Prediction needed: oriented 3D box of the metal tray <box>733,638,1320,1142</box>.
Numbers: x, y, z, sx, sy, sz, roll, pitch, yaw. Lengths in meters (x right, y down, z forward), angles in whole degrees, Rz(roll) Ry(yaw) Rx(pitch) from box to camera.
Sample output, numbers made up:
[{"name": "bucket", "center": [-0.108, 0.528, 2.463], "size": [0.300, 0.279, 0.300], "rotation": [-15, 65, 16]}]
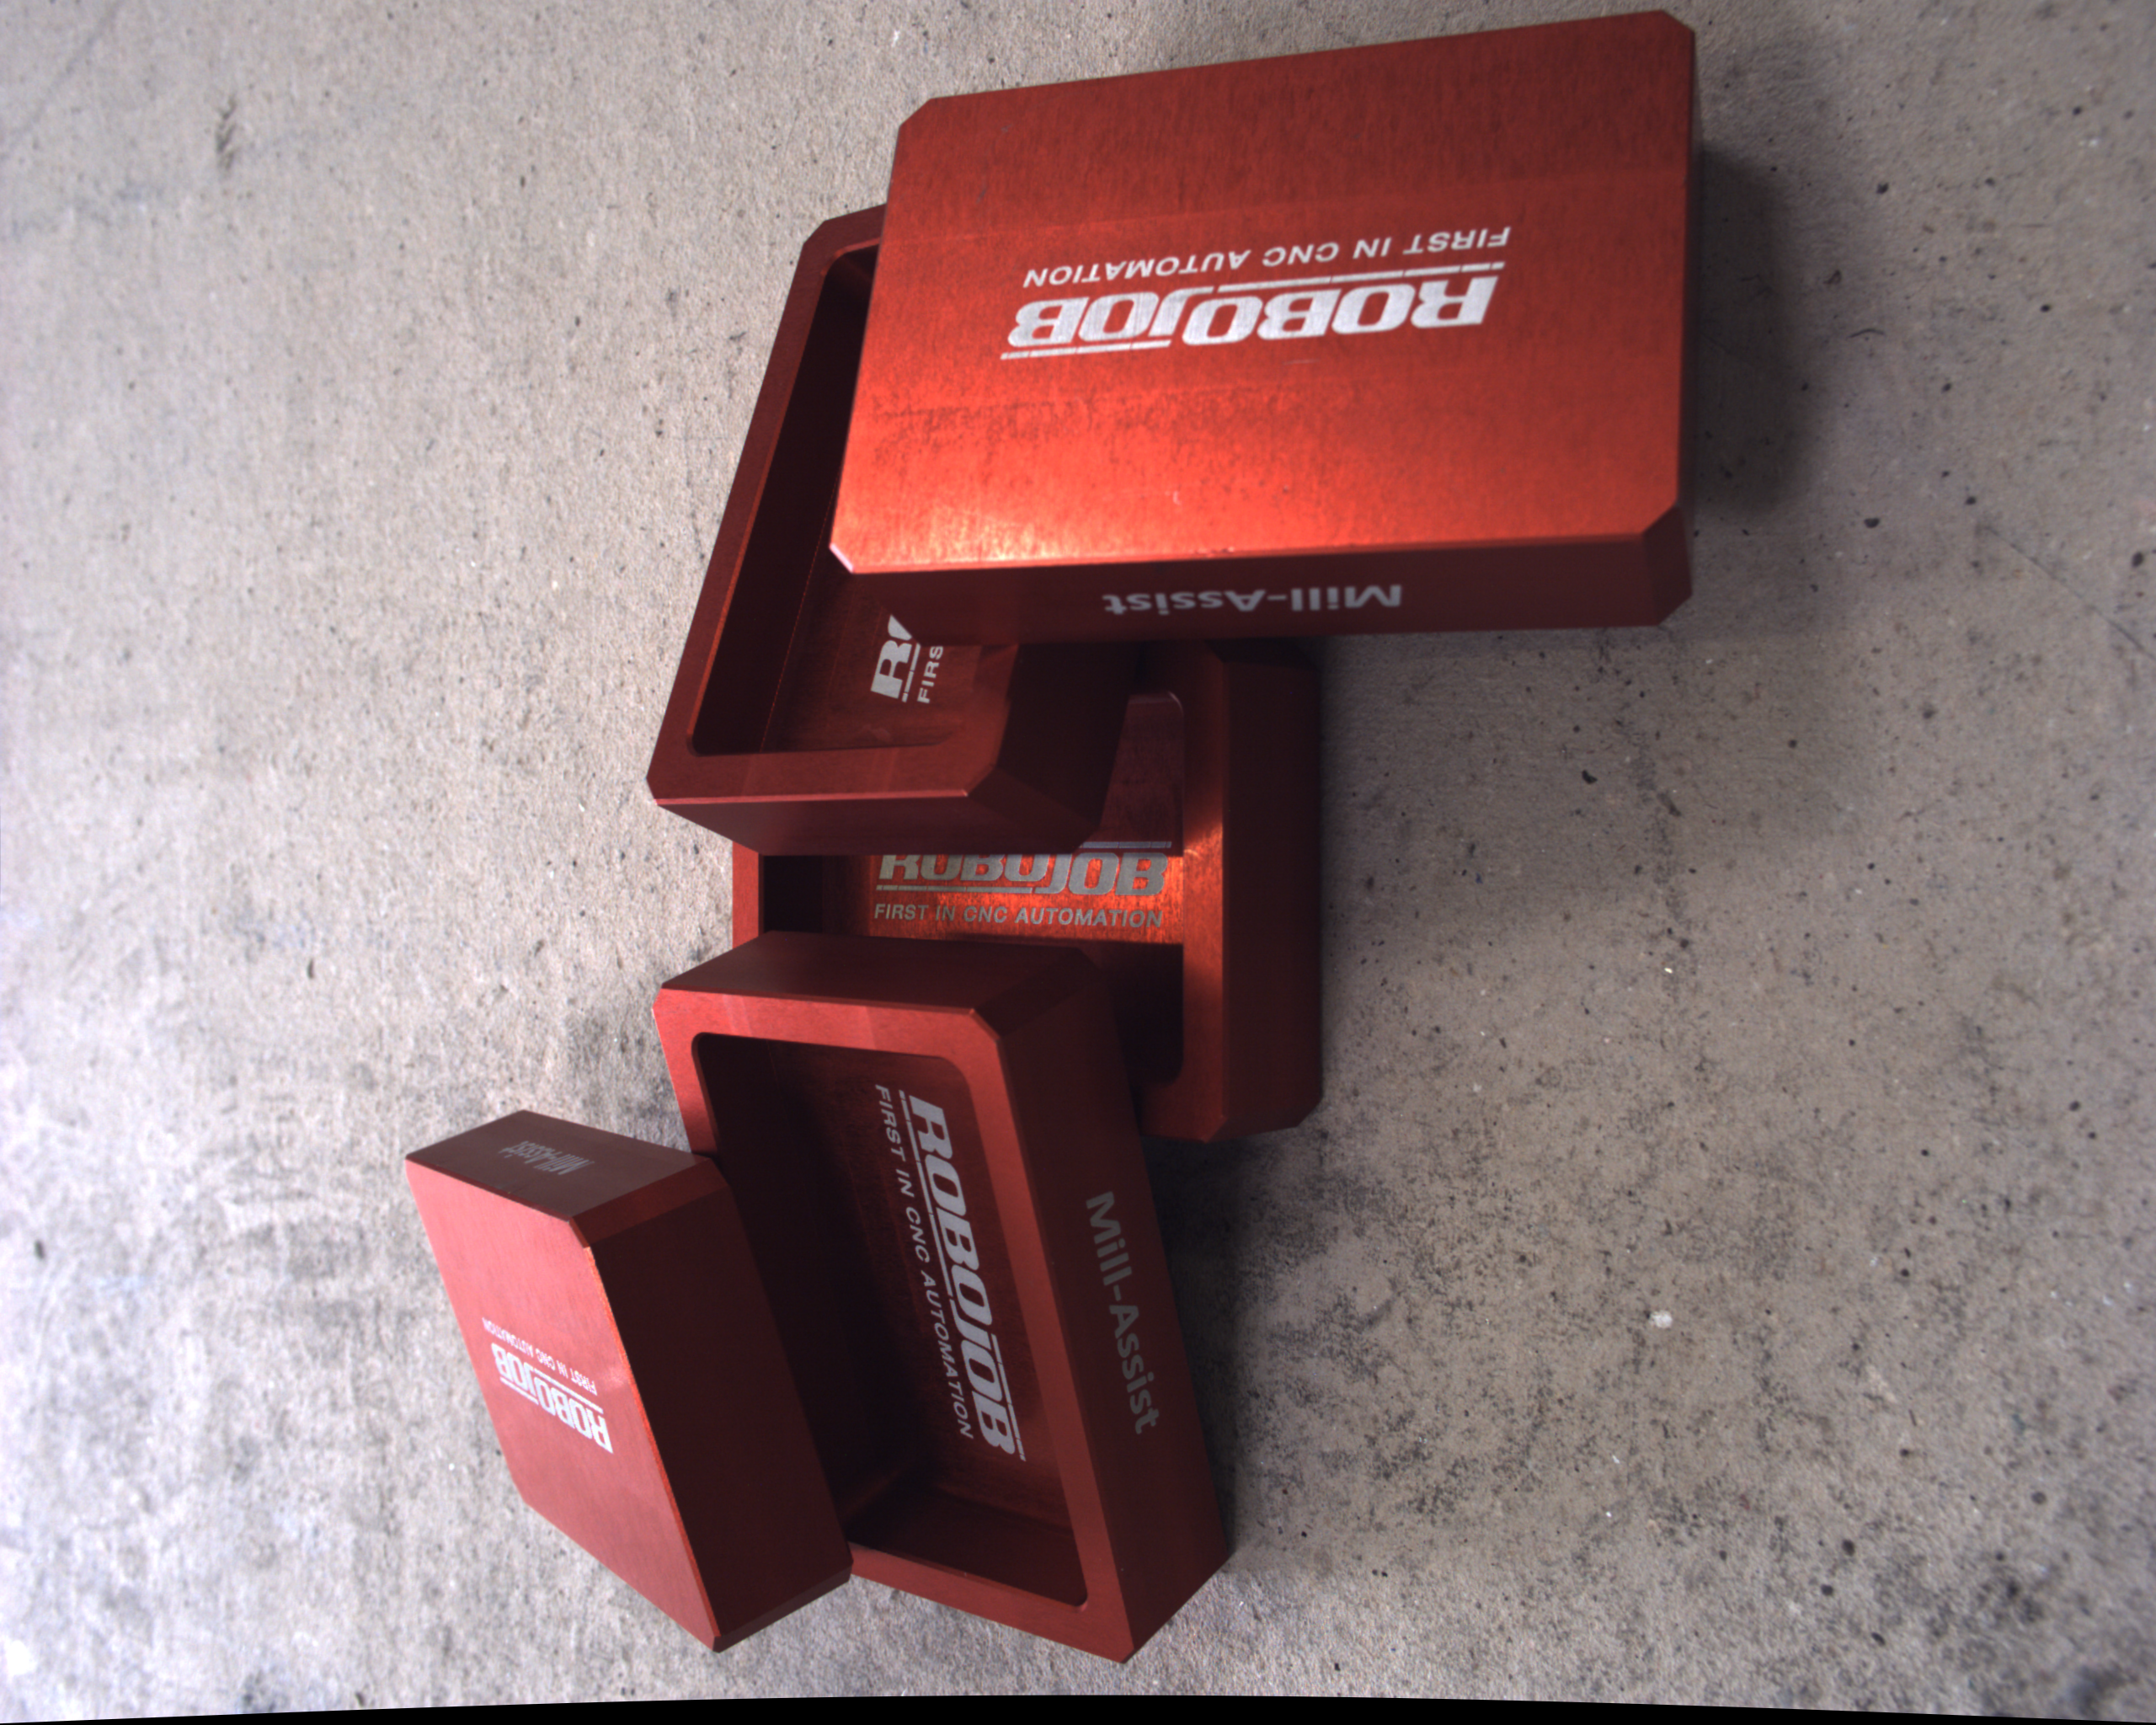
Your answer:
[{"name": "metal tray", "center": [-0.015, 0.004, 0.416], "size": [0.130, 0.030, 0.089], "rotation": [0, 90, 40]}]

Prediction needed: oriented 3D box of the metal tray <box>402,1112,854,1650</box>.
[{"name": "metal tray", "center": [-0.101, 0.105, 0.448], "size": [0.130, 0.030, 0.089], "rotation": [-3, 105, 57]}]

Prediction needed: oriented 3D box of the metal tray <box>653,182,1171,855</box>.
[{"name": "metal tray", "center": [-0.026, -0.067, 0.398], "size": [0.090, 0.030, 0.130], "rotation": [0, 70, 39]}]

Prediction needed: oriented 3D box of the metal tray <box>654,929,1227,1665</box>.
[{"name": "metal tray", "center": [-0.027, 0.080, 0.399], "size": [0.090, 0.030, 0.129], "rotation": [1, 110, 40]}]

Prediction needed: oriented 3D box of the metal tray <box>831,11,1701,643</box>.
[{"name": "metal tray", "center": [0.031, -0.083, 0.336], "size": [0.130, 0.030, 0.090], "rotation": [1, 71, 19]}]
